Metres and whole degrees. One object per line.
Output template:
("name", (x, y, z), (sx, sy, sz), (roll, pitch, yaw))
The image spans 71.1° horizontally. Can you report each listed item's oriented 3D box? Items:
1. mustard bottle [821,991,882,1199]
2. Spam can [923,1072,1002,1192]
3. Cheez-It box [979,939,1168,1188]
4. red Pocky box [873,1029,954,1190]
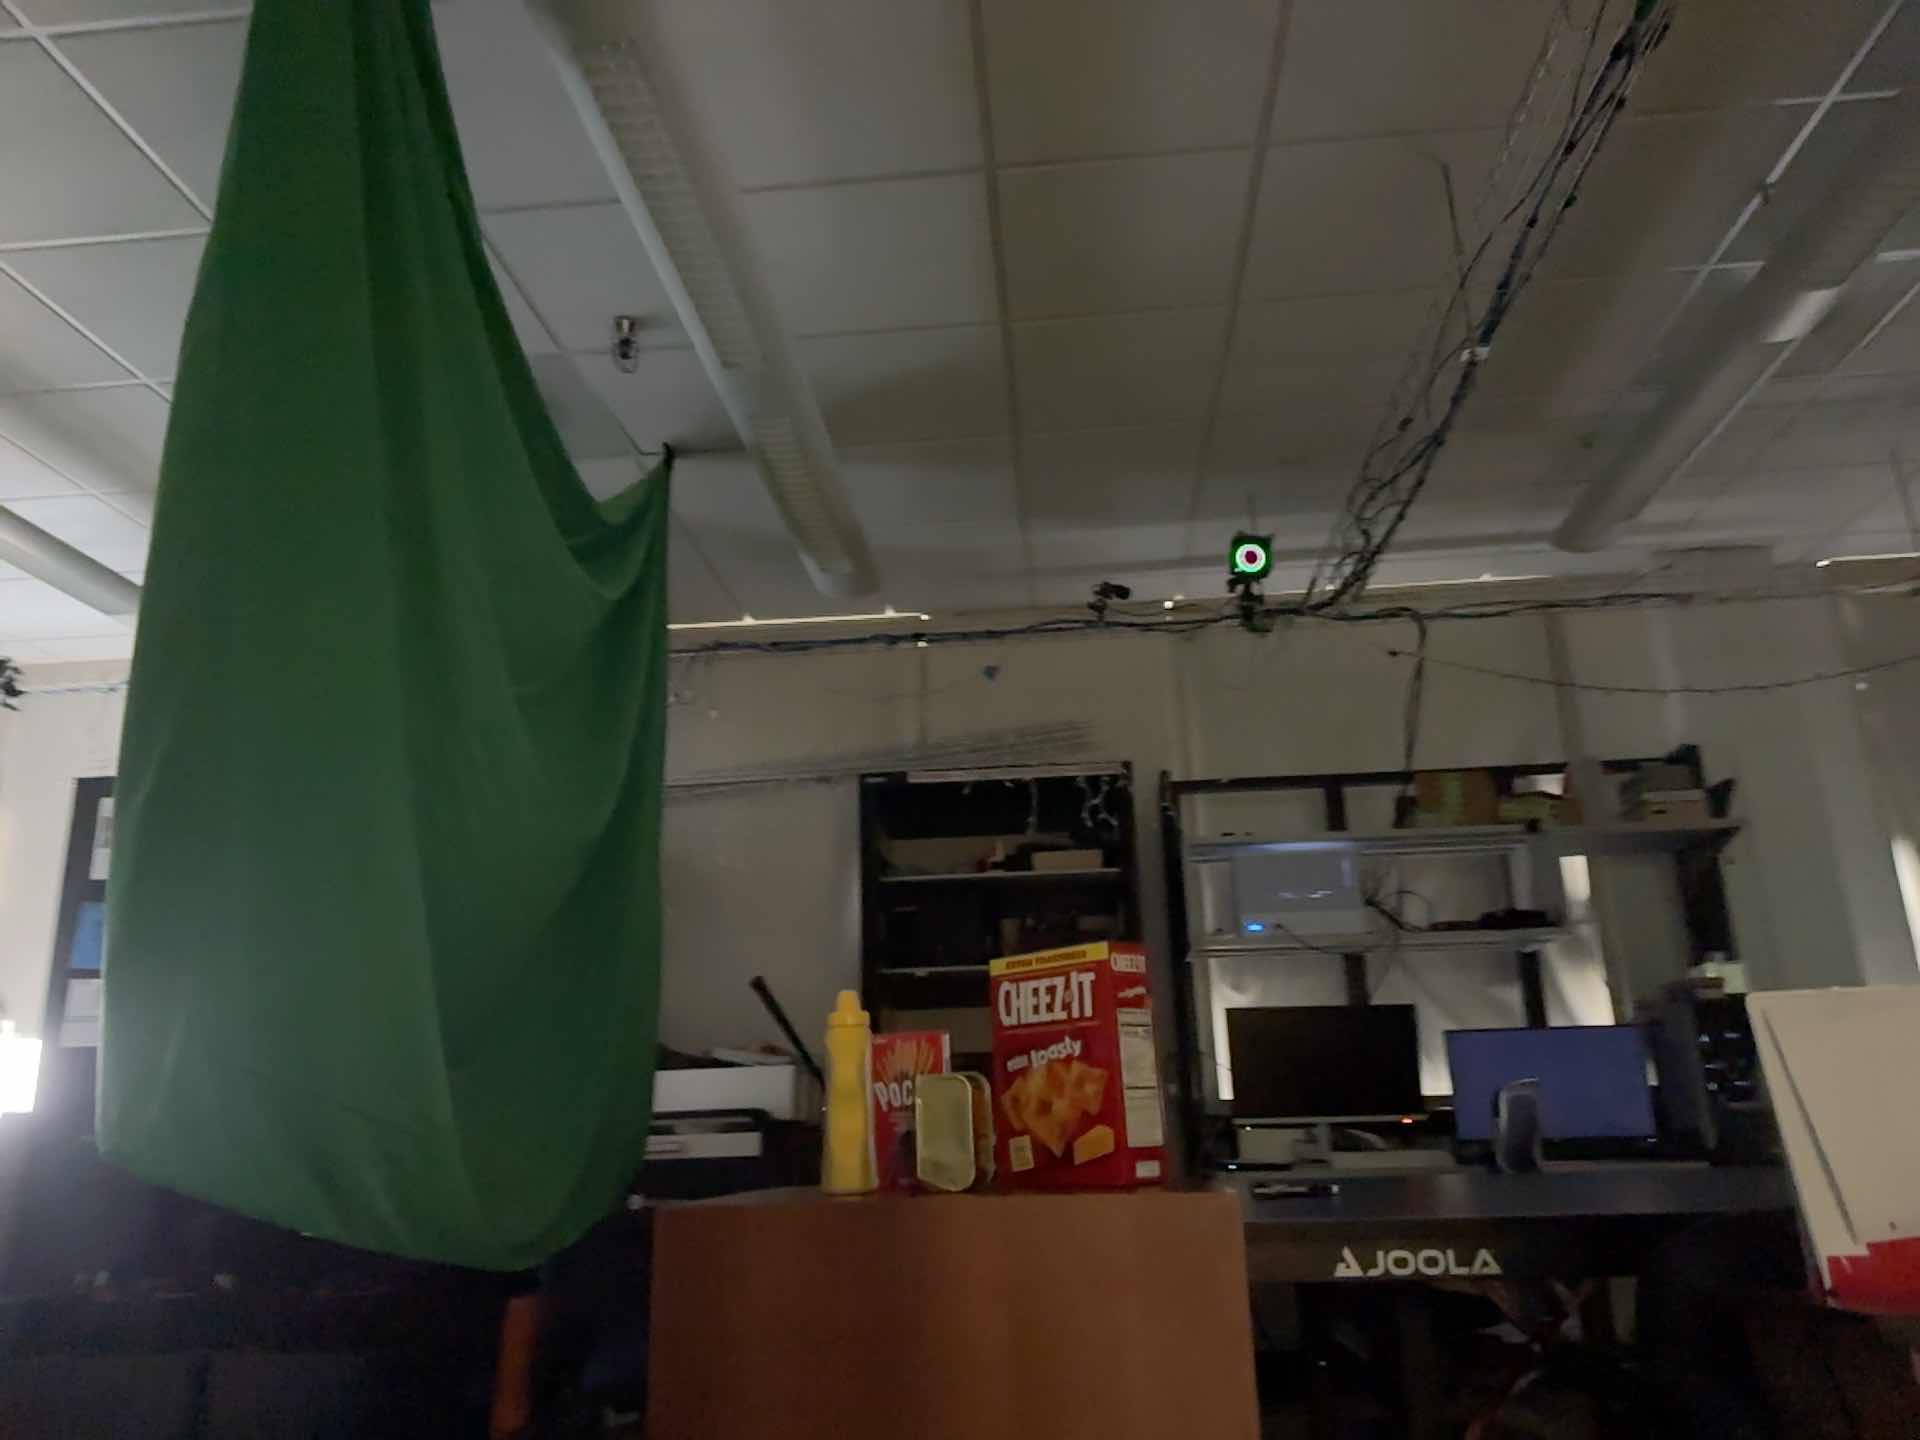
("mustard bottle", (-0.102, 0.343, 1.240), (0.054, 0.184, 0.092), (-4, -17, 3))
("Spam can", (0.001, 0.368, 1.204), (0.056, 0.100, 0.083), (-5, -16, 10))
("Cheez-It box", (0.104, 0.329, 1.287), (0.159, 0.214, 0.062), (-12, -19, 34))
("red Pocky box", (-0.048, 0.392, 1.353), (0.083, 0.155, 0.028), (-8, -18, 18))
